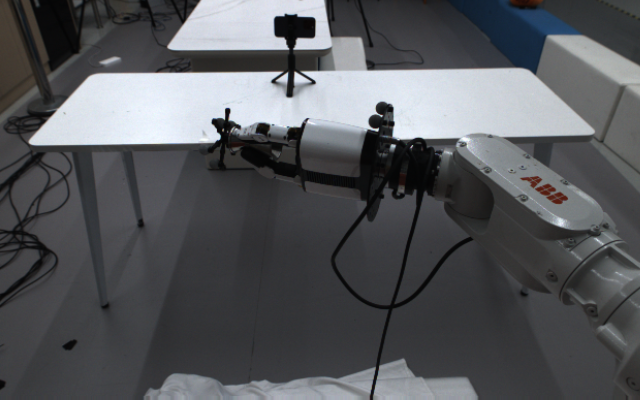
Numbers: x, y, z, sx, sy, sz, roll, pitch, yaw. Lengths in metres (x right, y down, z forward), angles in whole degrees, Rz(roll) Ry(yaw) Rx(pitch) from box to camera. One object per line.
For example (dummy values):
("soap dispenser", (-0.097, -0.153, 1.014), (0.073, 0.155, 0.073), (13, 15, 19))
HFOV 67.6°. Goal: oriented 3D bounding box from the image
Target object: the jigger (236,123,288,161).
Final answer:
("jigger", (-0.088, -0.088, 0.701), (0.071, 0.043, 0.043), (10, 35, 16))
